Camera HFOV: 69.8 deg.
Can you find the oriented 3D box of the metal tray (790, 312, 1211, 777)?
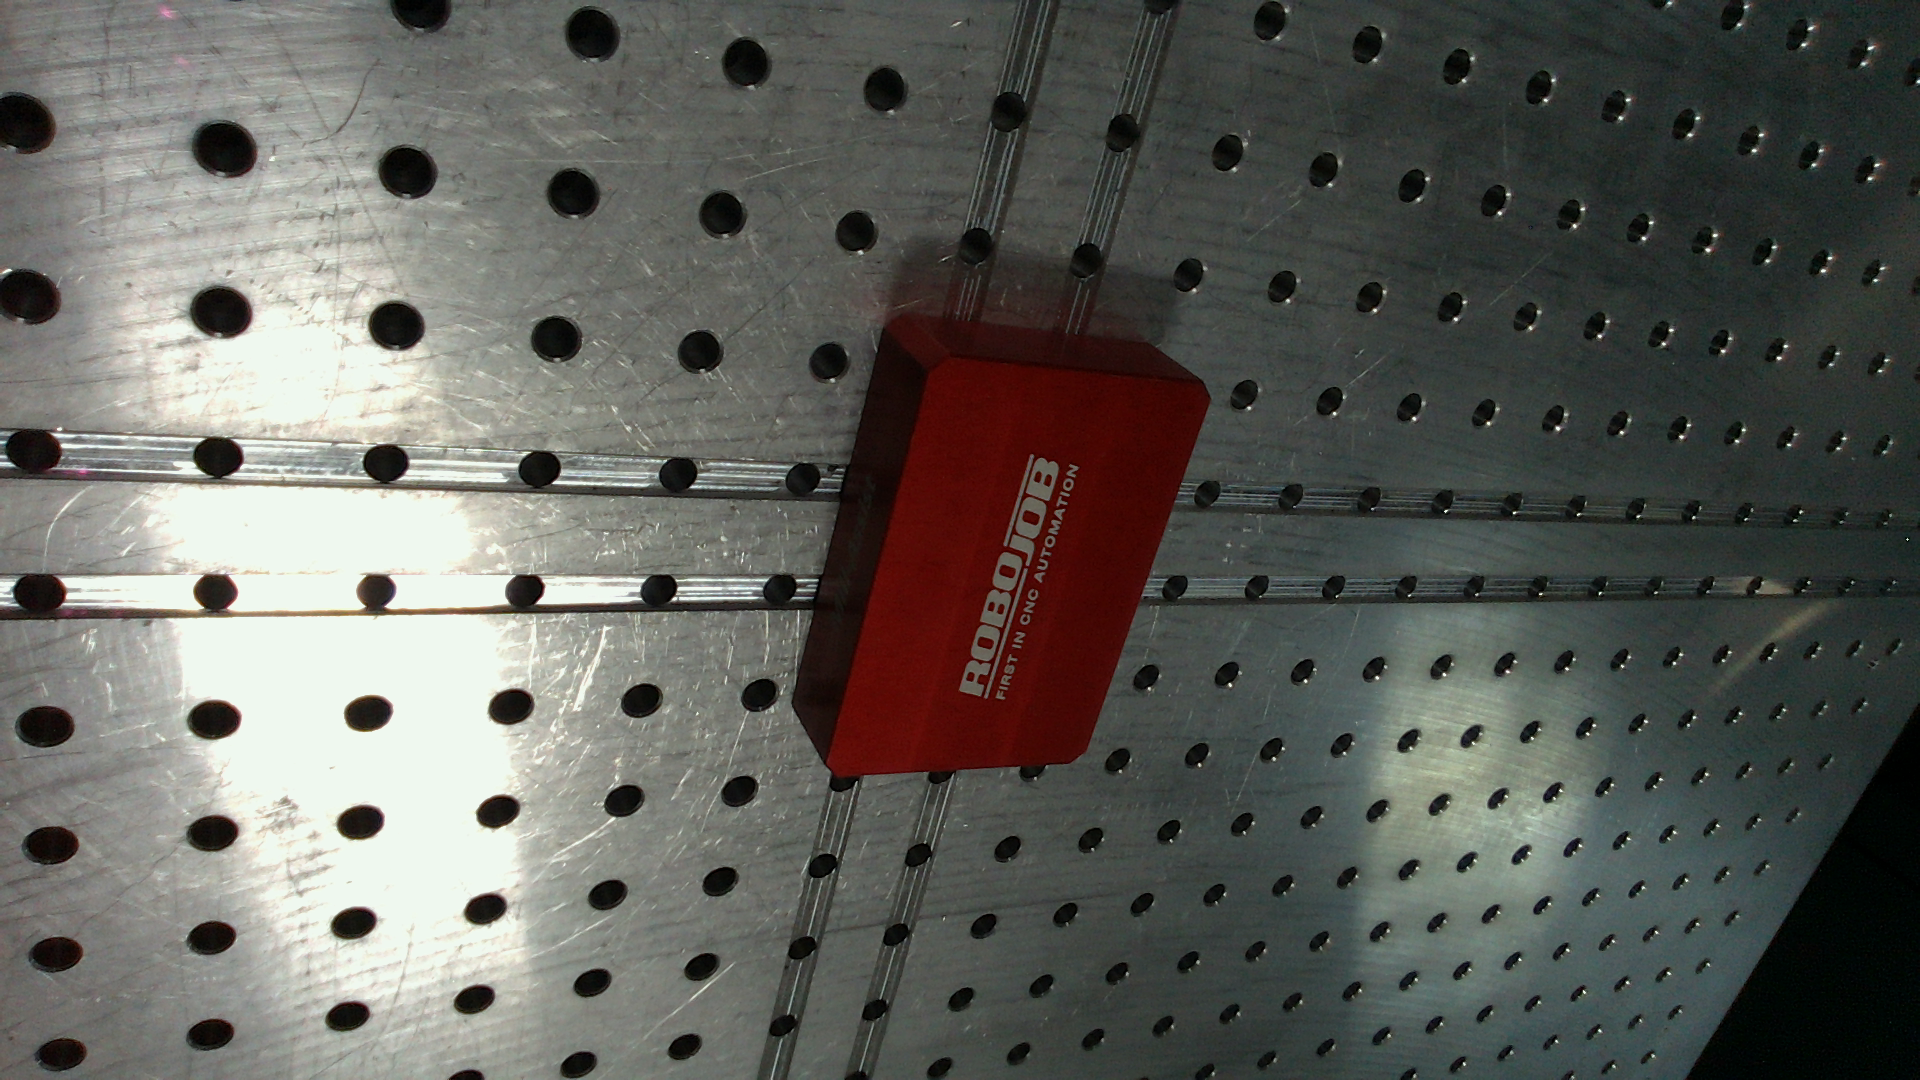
[{"bbox_3d":[0.010,0.005,0.396,0.090,0.030,0.130,2,117,-29],"label":"metal tray"}]
